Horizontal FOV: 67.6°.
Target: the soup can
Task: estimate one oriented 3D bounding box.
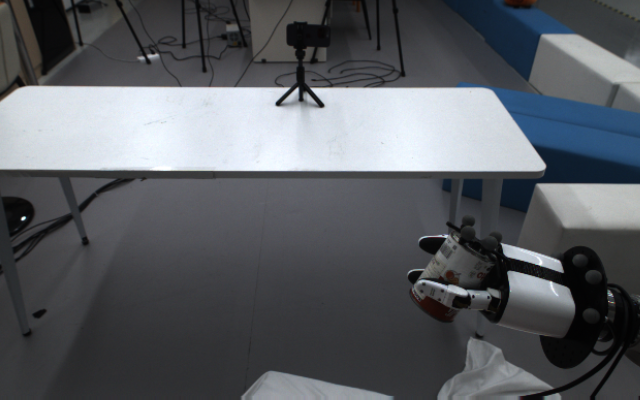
[{"bbox_3d":[0.171,0.097,0.625,0.067,0.101,0.067,27,18,-10],"label":"soup can"}]
